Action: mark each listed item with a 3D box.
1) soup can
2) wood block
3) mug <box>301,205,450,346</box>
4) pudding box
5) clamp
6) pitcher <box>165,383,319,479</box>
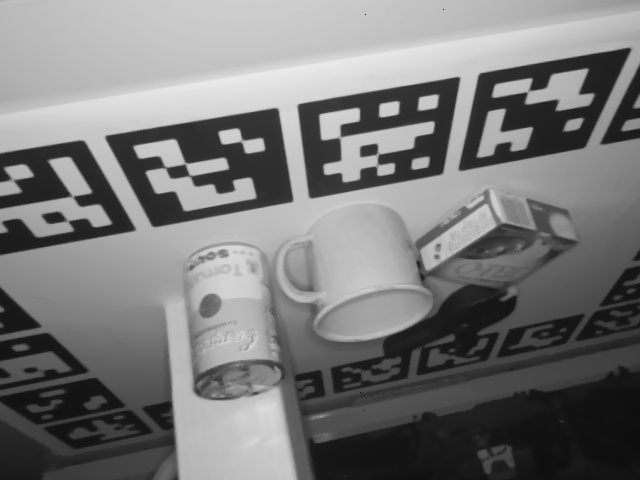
[{"bbox_3d":[-0.052,0.061,0.540,0.068,0.102,0.067,-9,143,-6],"label":"soup can"},{"bbox_3d":[-0.056,0.157,0.582,0.090,0.207,0.090,-9,145,0],"label":"wood block"},{"bbox_3d":[0.037,0.025,0.540,0.119,0.082,0.091,13,140,-34],"label":"mug"},{"bbox_3d":[0.174,0.008,0.606,0.115,0.039,0.088,14,134,-35],"label":"pudding box"},{"bbox_3d":[0.159,0.099,0.738,0.123,0.037,0.162,14,137,-23],"label":"clamp"},{"bbox_3d":[-0.072,0.242,0.669,0.190,0.243,0.132,-12,147,-6],"label":"pitcher"}]
